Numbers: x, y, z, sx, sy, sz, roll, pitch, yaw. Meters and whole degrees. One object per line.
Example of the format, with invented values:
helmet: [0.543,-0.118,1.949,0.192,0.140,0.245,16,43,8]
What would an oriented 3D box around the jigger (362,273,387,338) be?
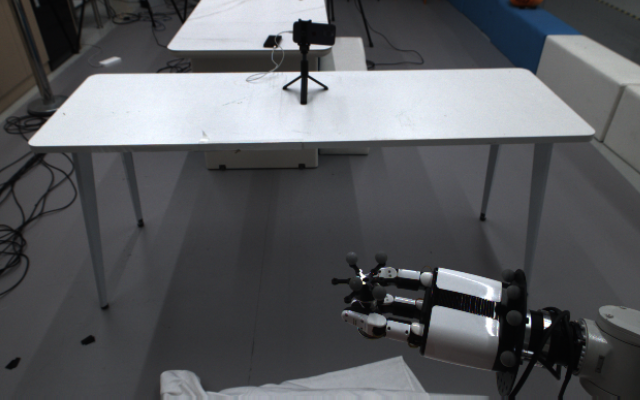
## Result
jigger: [0.070,0.144,0.655,0.043,0.071,0.043,-9,31,5]
